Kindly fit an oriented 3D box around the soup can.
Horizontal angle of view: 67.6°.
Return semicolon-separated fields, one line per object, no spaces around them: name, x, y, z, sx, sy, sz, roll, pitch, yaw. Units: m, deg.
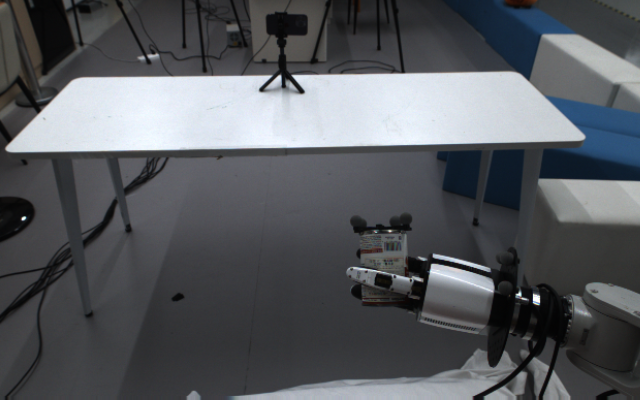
soup can;0.091;0.095;0.674;0.067;0.101;0.067;-1;-9;0
